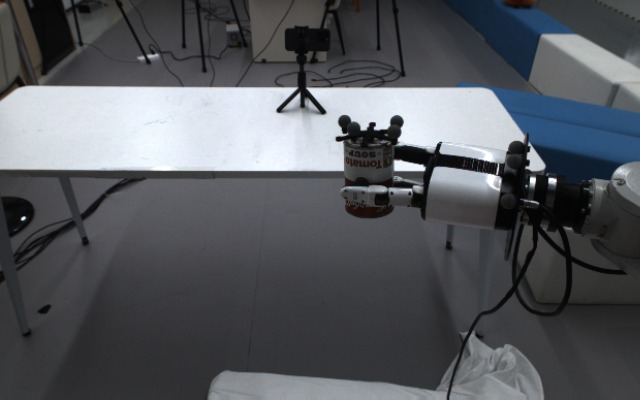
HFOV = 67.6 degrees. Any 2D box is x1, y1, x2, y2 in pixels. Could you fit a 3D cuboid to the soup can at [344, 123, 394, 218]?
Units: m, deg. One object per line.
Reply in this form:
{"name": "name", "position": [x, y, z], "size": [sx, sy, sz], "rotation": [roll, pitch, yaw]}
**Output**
{"name": "soup can", "position": [0.067, -0.037, 0.650], "size": [0.067, 0.101, 0.067], "rotation": [-3, 27, 2]}
